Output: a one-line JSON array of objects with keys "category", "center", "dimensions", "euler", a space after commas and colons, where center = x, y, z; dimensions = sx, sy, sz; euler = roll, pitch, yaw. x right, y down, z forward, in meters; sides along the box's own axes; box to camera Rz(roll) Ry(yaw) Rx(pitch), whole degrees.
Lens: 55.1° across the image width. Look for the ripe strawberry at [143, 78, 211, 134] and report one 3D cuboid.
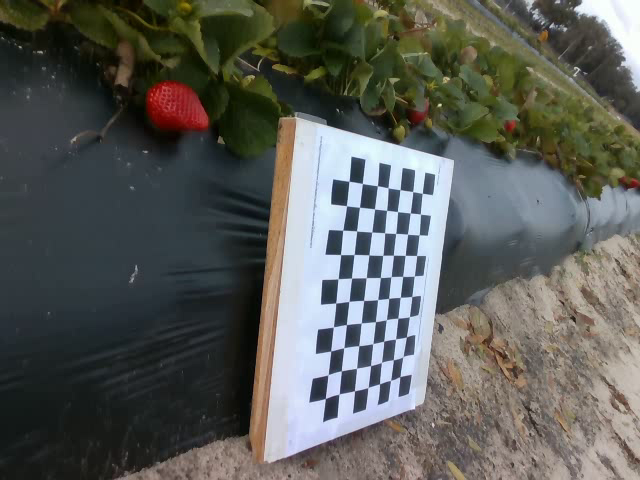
[{"category": "ripe strawberry", "center": [-0.083, -0.079, 0.363], "dimensions": [0.046, 0.037, 0.037], "euler": [38, -27, 9]}]
